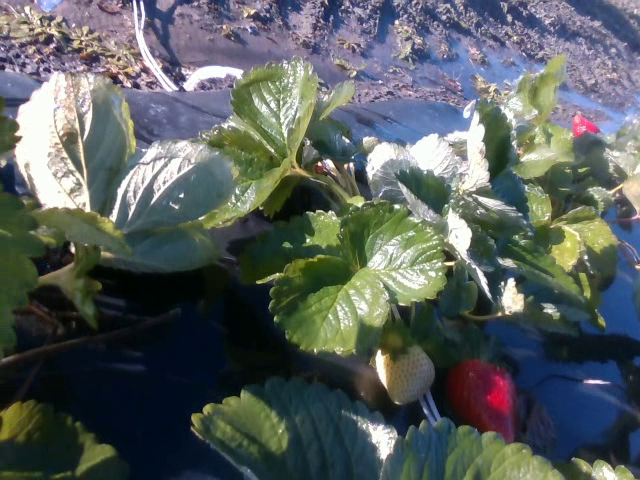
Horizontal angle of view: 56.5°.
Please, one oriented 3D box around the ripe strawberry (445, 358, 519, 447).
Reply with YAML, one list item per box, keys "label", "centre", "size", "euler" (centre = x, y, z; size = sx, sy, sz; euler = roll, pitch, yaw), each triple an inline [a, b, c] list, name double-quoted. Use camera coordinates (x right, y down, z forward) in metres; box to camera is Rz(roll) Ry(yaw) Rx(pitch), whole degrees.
- label: "ripe strawberry"
  centre: [0.117, 0.104, 0.389]
  size: [0.040, 0.063, 0.080]
  euler: [-30, 24, 11]
